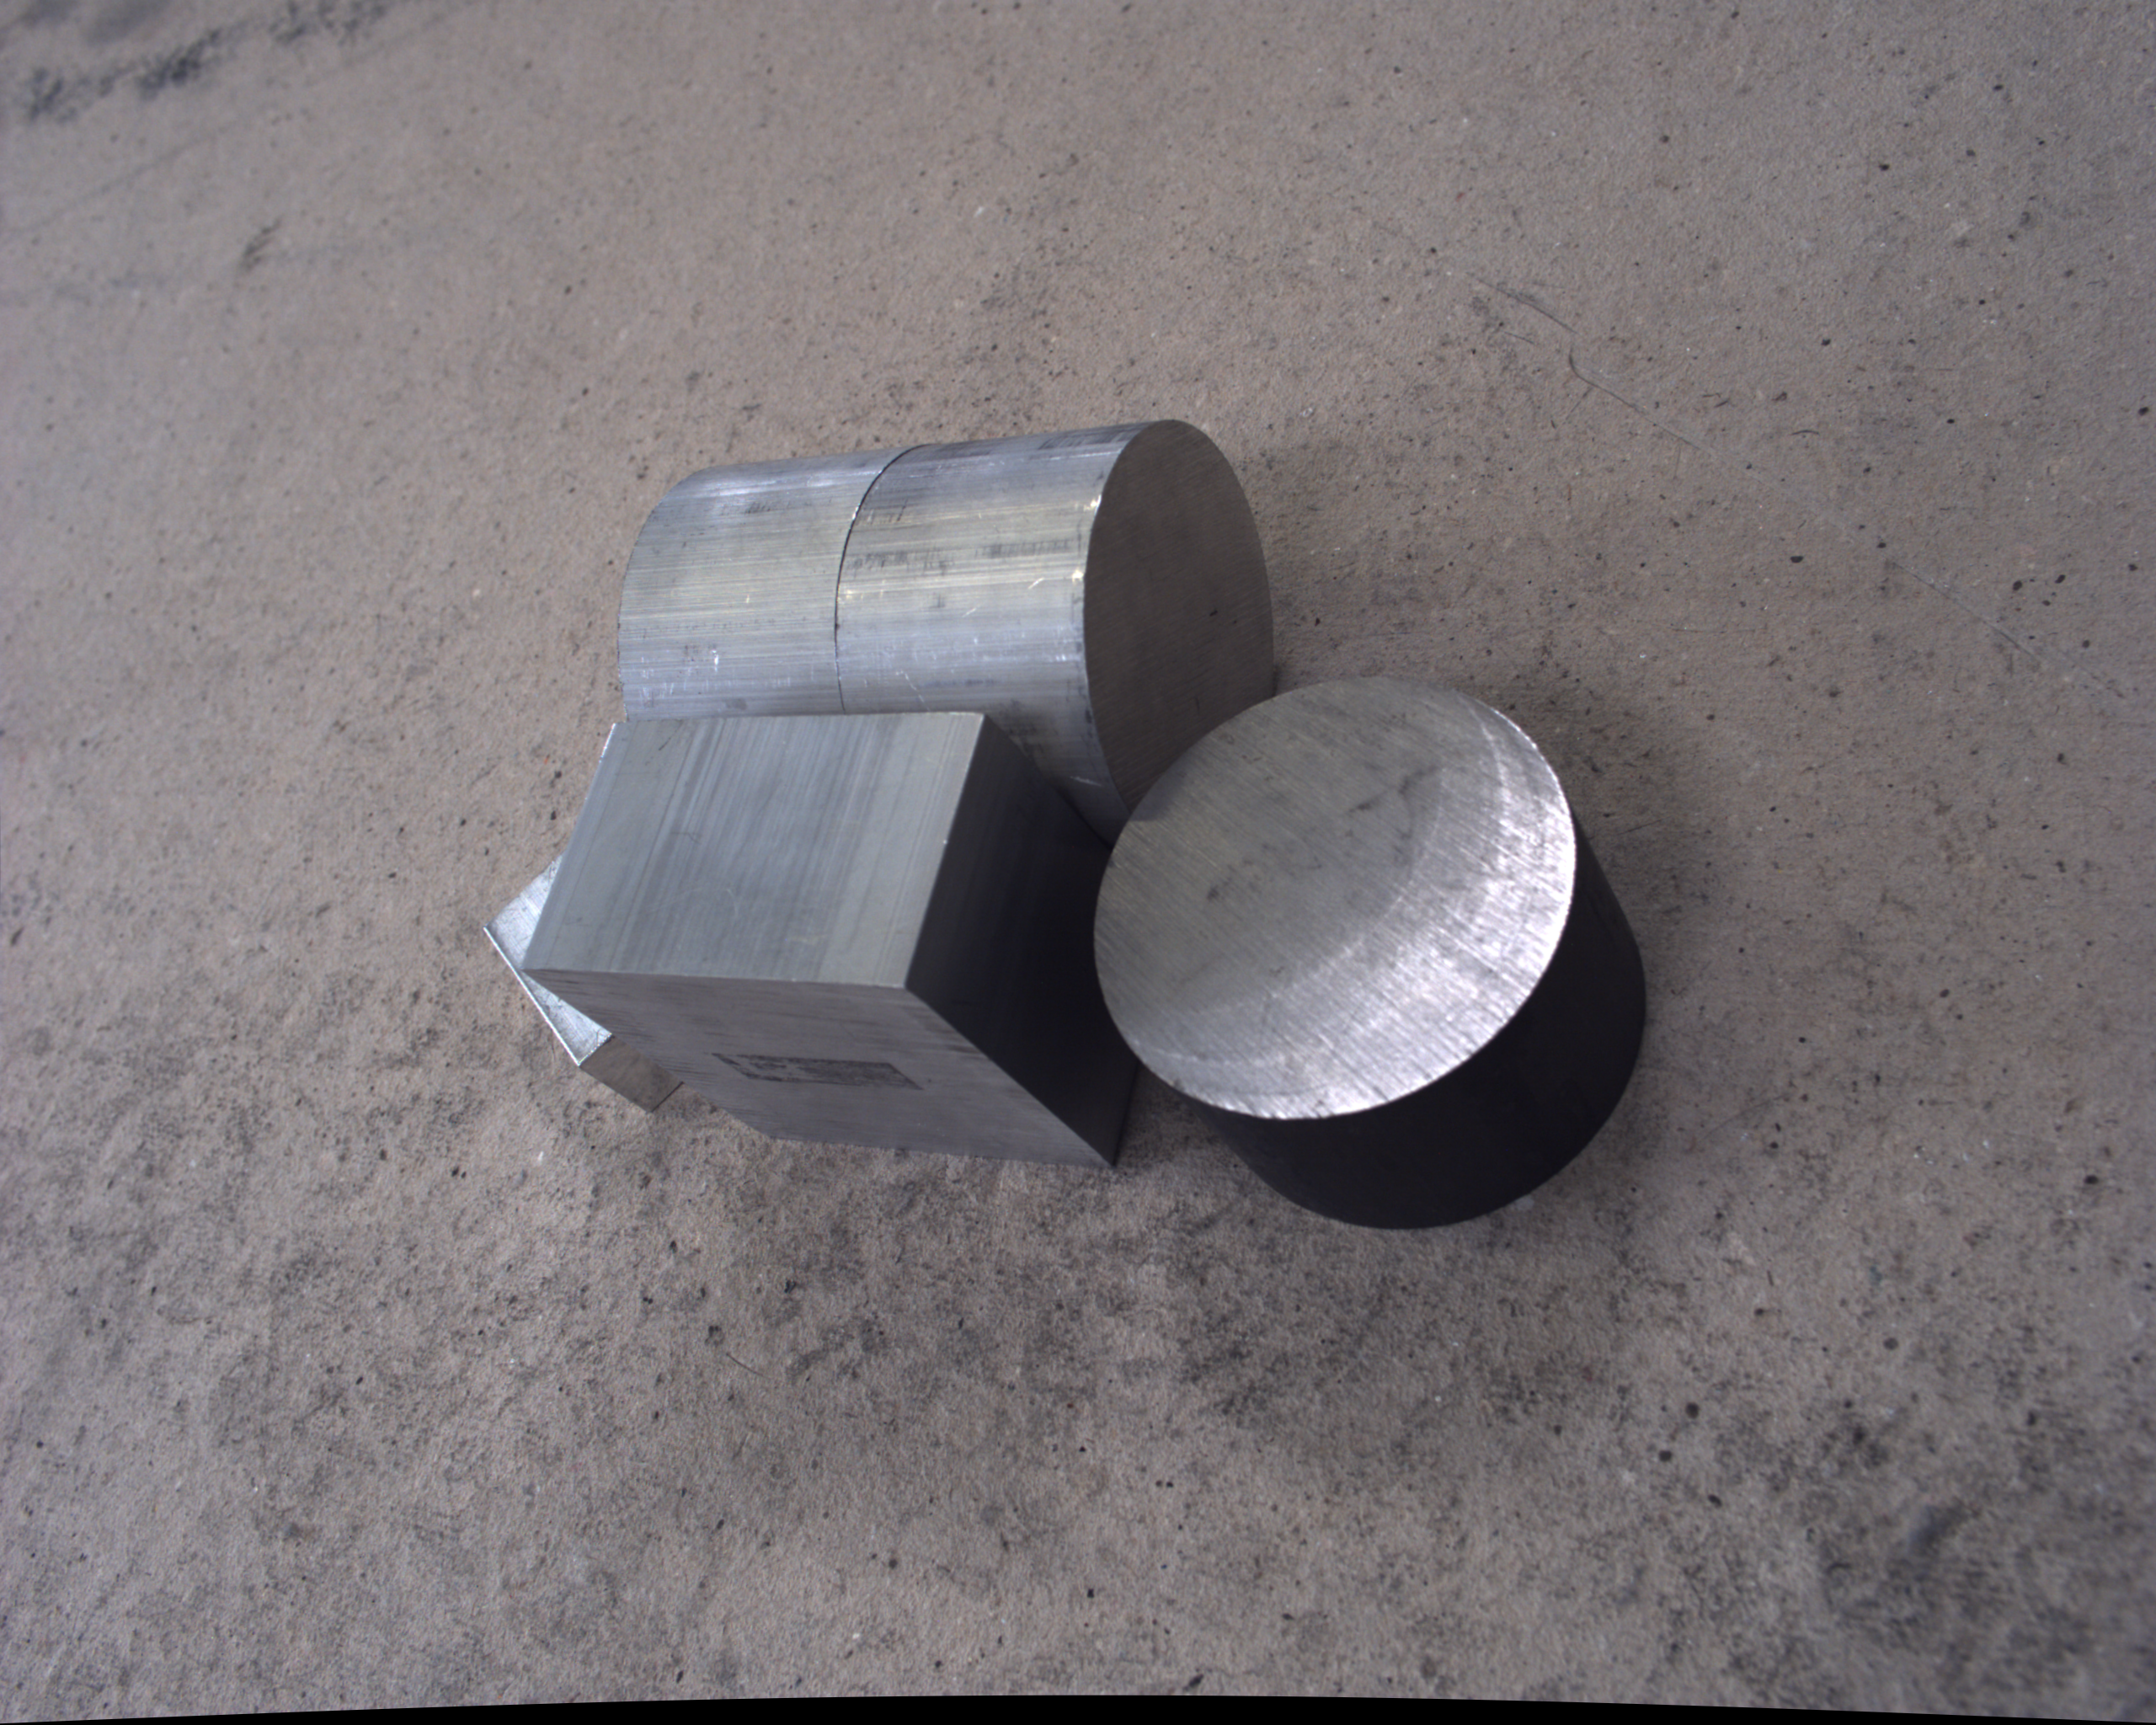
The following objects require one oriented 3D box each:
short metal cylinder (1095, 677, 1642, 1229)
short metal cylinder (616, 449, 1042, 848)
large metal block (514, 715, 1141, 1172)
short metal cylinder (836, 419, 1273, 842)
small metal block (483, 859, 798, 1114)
[{"bbox_3d":[0.050,0.016,0.353,0.080,0.050,0.080,-13,56,21],"label":"short metal cylinder"},{"bbox_3d":[-0.047,-0.042,0.421,0.050,0.080,0.080,1,62,29],"label":"short metal cylinder"},{"bbox_3d":[-0.039,0.016,0.382,0.080,0.080,0.050,1,62,28],"label":"large metal block"},{"bbox_3d":[-0.002,-0.042,0.398,0.050,0.080,0.080,1,62,29],"label":"short metal cylinder"},{"bbox_3d":[-0.091,0.016,0.444,0.050,0.025,0.050,-44,51,-3],"label":"small metal block"}]
